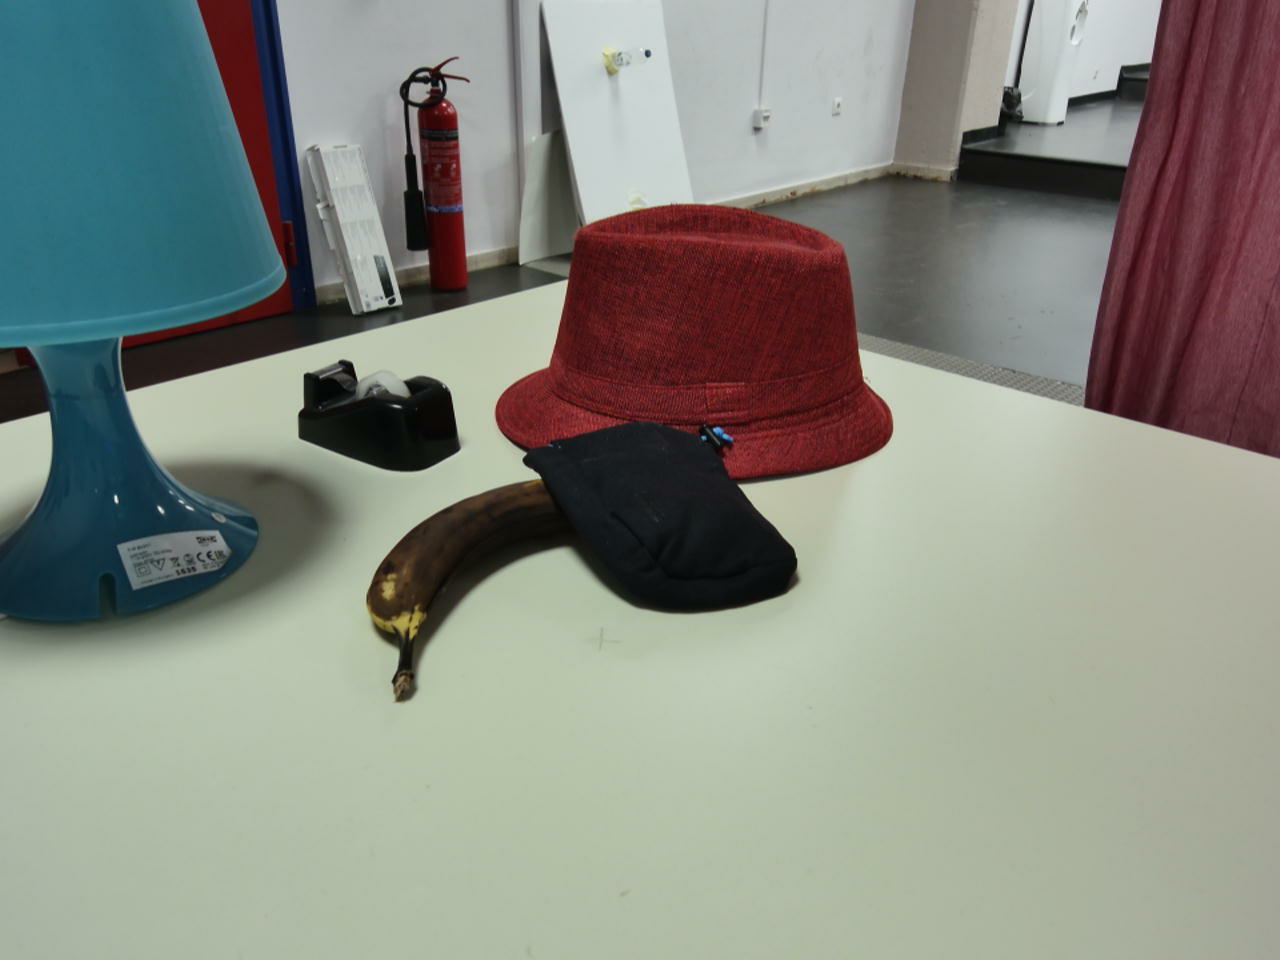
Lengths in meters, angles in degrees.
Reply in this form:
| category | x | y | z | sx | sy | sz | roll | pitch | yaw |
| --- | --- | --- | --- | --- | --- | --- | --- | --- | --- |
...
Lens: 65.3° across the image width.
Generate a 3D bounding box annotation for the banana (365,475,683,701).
| category | x | y | z | sx | sy | sz | roll | pitch | yaw |
| --- | --- | --- | --- | --- | --- | --- | --- | --- | --- |
| banana | -0.068 | 0.033 | 0.493 | 0.091 | 0.034 | 0.188 | 21 | 31 | 37 |
